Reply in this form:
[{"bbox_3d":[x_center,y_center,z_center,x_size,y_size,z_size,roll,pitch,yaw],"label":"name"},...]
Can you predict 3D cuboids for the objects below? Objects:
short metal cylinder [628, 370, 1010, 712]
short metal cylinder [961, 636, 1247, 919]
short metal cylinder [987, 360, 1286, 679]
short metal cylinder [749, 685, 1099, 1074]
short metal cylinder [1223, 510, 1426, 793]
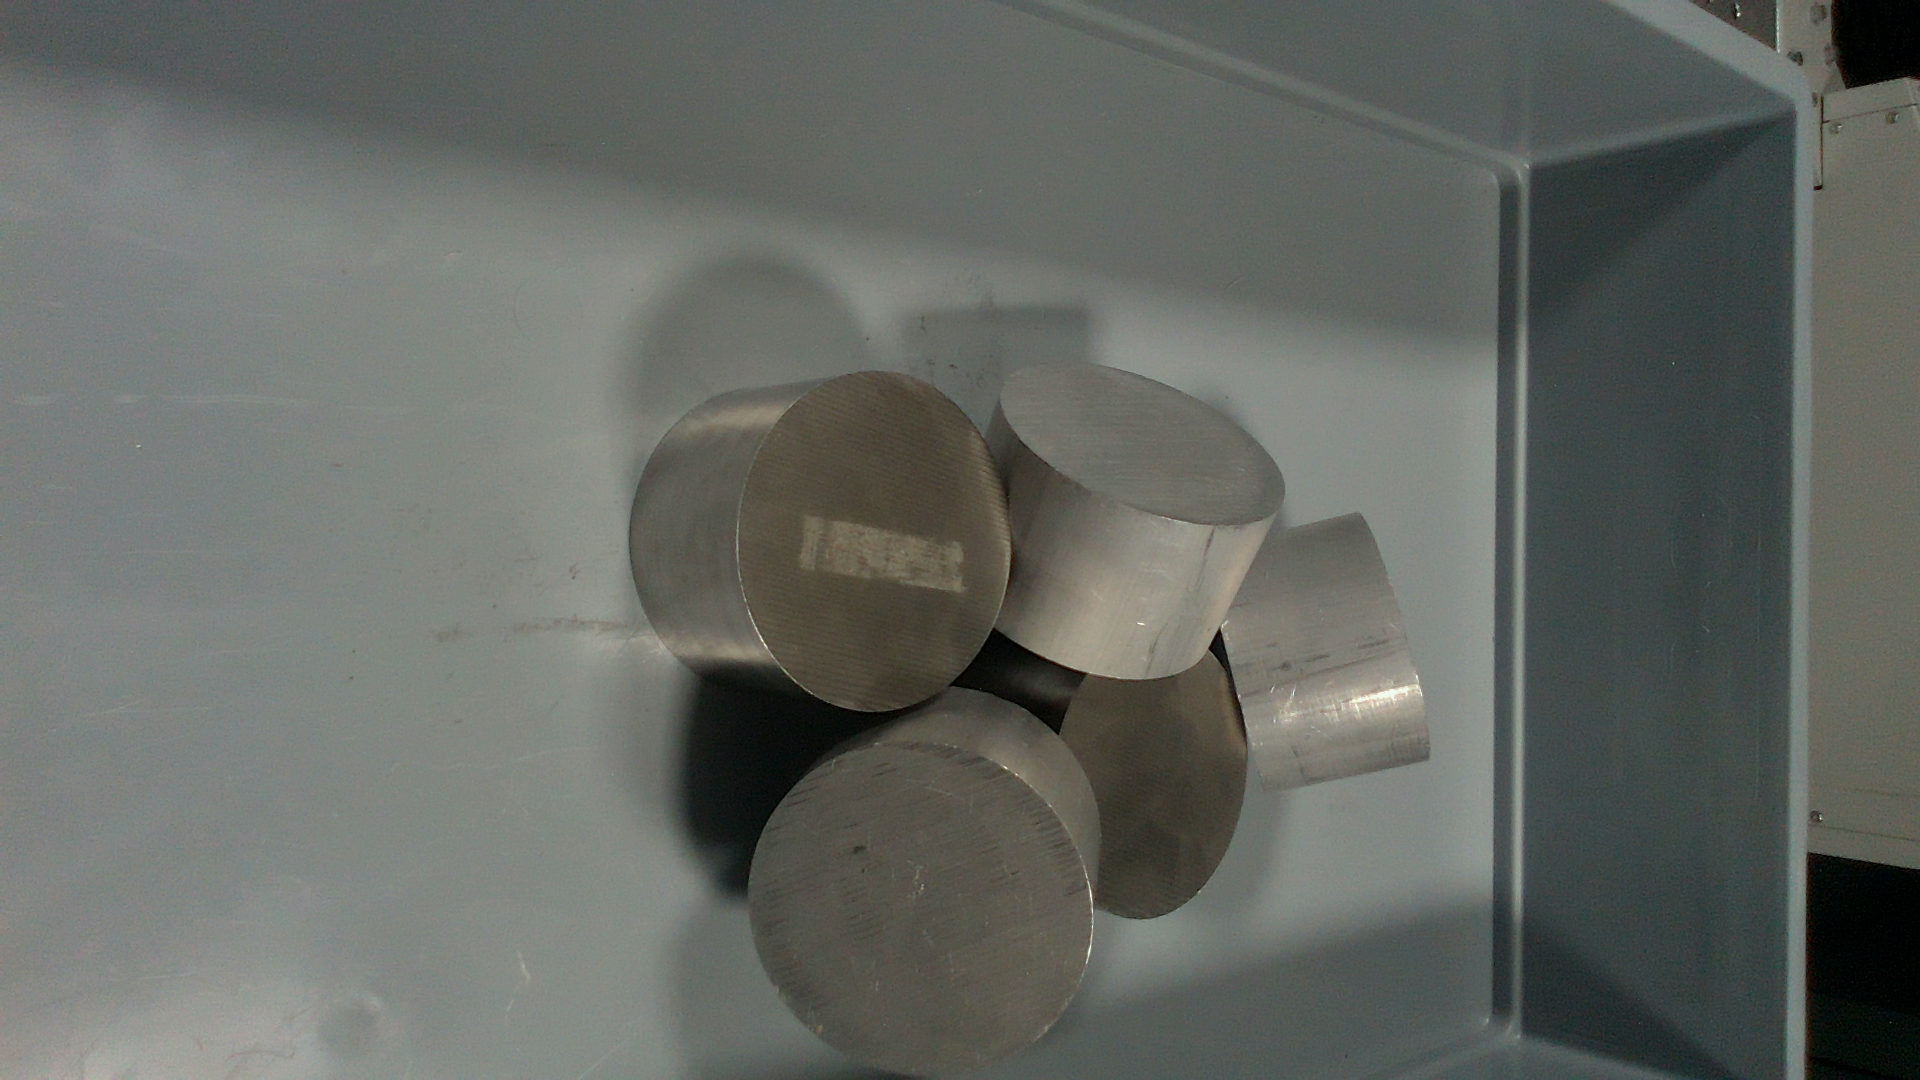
[{"bbox_3d":[-0.034,0.000,0.341,0.080,0.050,0.080,0,90,-40],"label":"short metal cylinder"},{"bbox_3d":[0.039,0.065,0.403,0.080,0.050,0.080,0,90,-40],"label":"short metal cylinder"},{"bbox_3d":[0.042,-0.007,0.377,0.080,0.080,0.050,-11,132,-39],"label":"short metal cylinder"},{"bbox_3d":[-0.006,0.081,0.338,0.050,0.080,0.080,-48,130,-79],"label":"short metal cylinder"},{"bbox_3d":[0.111,0.035,0.437,0.080,0.050,0.080,-14,90,-80],"label":"short metal cylinder"}]
